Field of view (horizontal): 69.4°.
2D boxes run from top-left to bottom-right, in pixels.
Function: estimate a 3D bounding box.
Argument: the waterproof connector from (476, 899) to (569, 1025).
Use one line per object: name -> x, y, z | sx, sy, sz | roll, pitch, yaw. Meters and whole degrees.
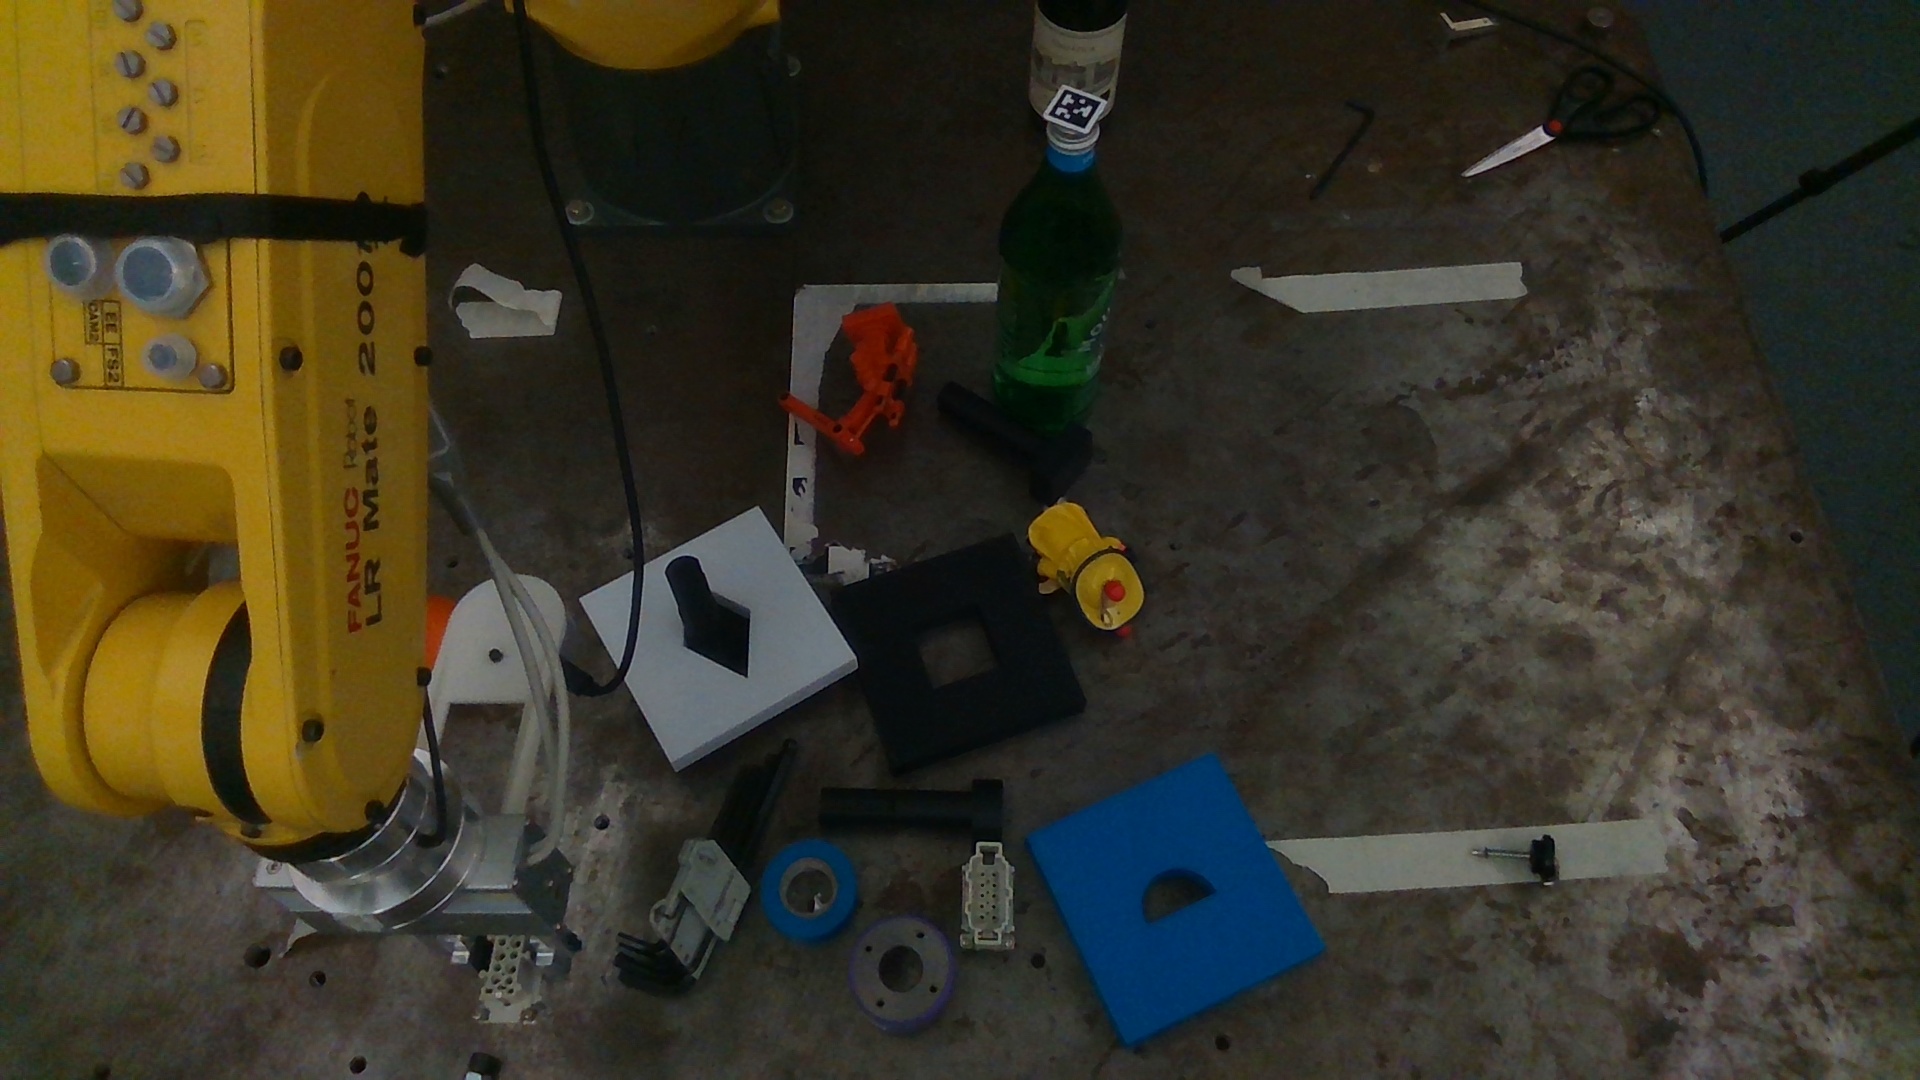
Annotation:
waterproof connector -> -0.250, 0.239, 0.790 | 0.037, 0.038, 0.069 | -5, 54, 10
